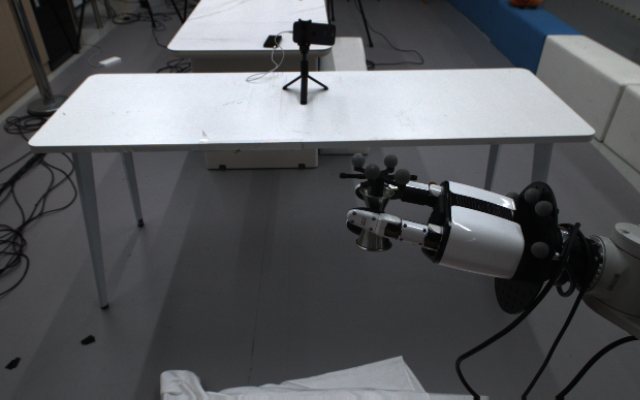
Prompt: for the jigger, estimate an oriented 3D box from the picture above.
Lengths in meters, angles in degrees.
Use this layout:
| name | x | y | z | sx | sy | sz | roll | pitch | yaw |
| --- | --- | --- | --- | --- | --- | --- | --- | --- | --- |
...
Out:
| name | x | y | z | sx | sy | sz | roll | pitch | yaw |
| --- | --- | --- | --- | --- | --- | --- | --- | --- | --- |
| jigger | 0.066 | 0.020 | 0.579 | 0.043 | 0.071 | 0.043 | 1 | 20 | 0 |
